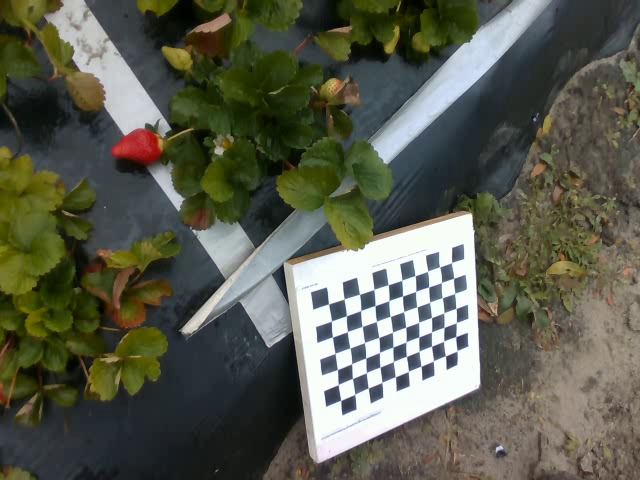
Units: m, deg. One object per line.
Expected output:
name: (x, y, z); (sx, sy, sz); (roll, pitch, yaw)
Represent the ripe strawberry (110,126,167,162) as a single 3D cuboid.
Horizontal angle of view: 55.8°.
ripe strawberry: (-0.182, -0.093, 0.600); (0.051, 0.042, 0.037); (-20, 24, -29)
